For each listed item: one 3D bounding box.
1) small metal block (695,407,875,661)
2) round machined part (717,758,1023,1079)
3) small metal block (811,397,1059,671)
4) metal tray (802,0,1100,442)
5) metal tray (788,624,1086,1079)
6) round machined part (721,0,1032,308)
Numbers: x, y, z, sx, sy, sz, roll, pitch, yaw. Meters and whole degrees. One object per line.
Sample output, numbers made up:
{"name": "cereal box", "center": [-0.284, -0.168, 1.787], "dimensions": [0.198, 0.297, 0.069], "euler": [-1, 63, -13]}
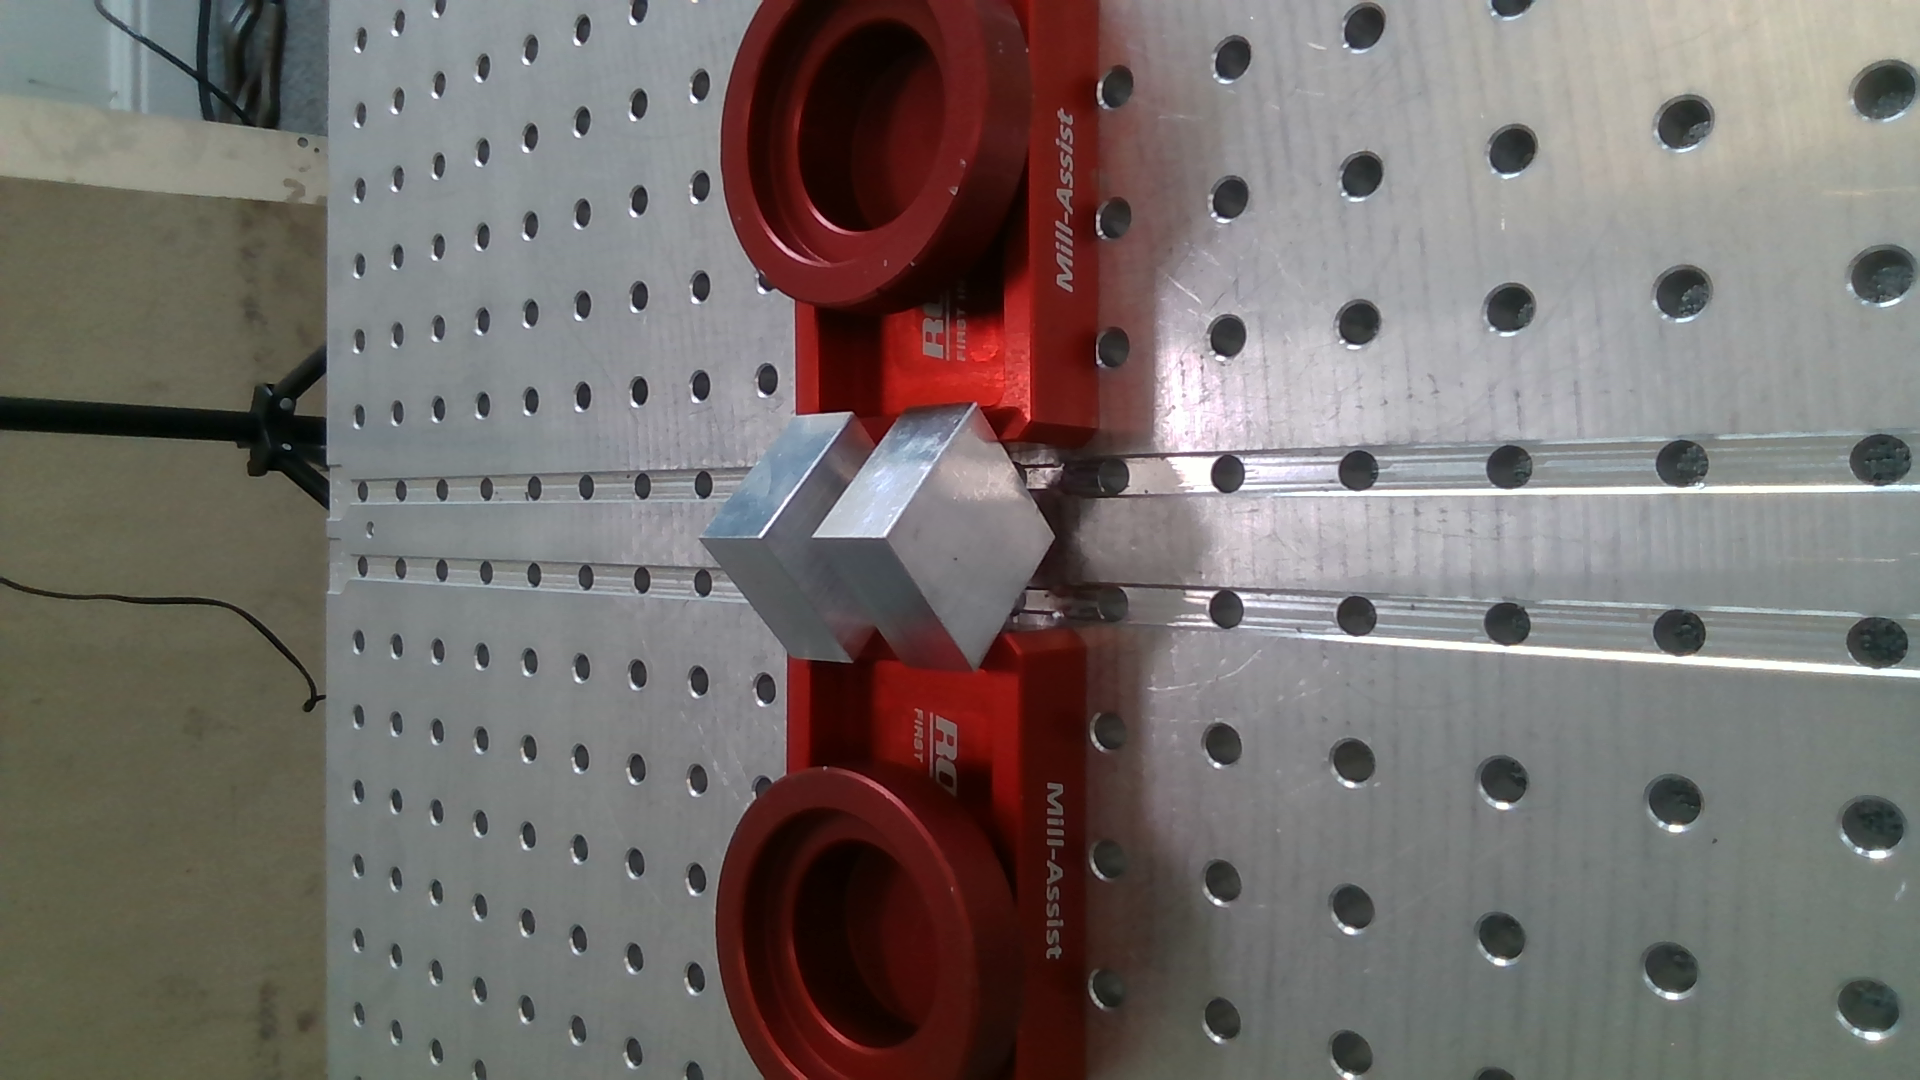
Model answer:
{"name": "small metal block", "center": [-0.039, -0.002, 0.391], "dimensions": [0.025, 0.050, 0.050], "euler": [1, 47, 40]}
{"name": "round machined part", "center": [-0.021, 0.110, 0.385], "dimensions": [0.098, 0.042, 0.098], "euler": [0, 91, 40]}
{"name": "small metal block", "center": [-0.005, -0.002, 0.363], "dimensions": [0.025, 0.050, 0.050], "euler": [1, 47, 40]}
{"name": "metal tray", "center": [-0.005, -0.091, 0.395], "dimensions": [0.090, 0.030, 0.130], "euler": [-1, 90, 42]}
{"name": "metal tray", "center": [-0.009, 0.089, 0.400], "dimensions": [0.090, 0.030, 0.130], "euler": [1, 91, 40]}
{"name": "round machined part", "center": [-0.018, -0.112, 0.381], "dimensions": [0.098, 0.042, 0.098], "euler": [0, 91, 40]}
